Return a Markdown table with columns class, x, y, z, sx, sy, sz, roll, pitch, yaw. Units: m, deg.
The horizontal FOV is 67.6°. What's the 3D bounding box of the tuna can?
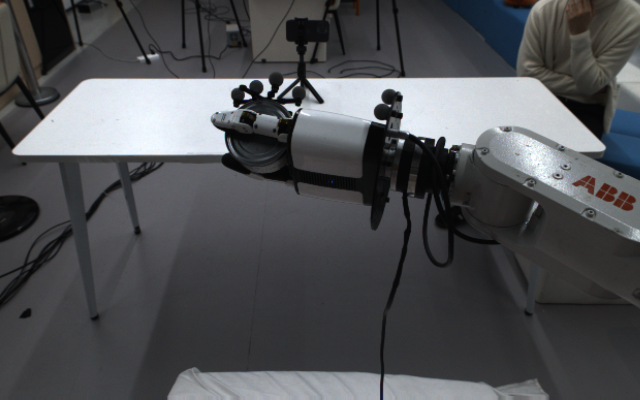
| class | x | y | z | sx | sy | sz | roll | pitch | yaw |
| --- | --- | --- | --- | --- | --- | --- | --- | --- | --- |
| tuna can | -0.069 | -0.078 | 0.591 | 0.085 | 0.034 | 0.085 | -3 | 73 | 10 |
